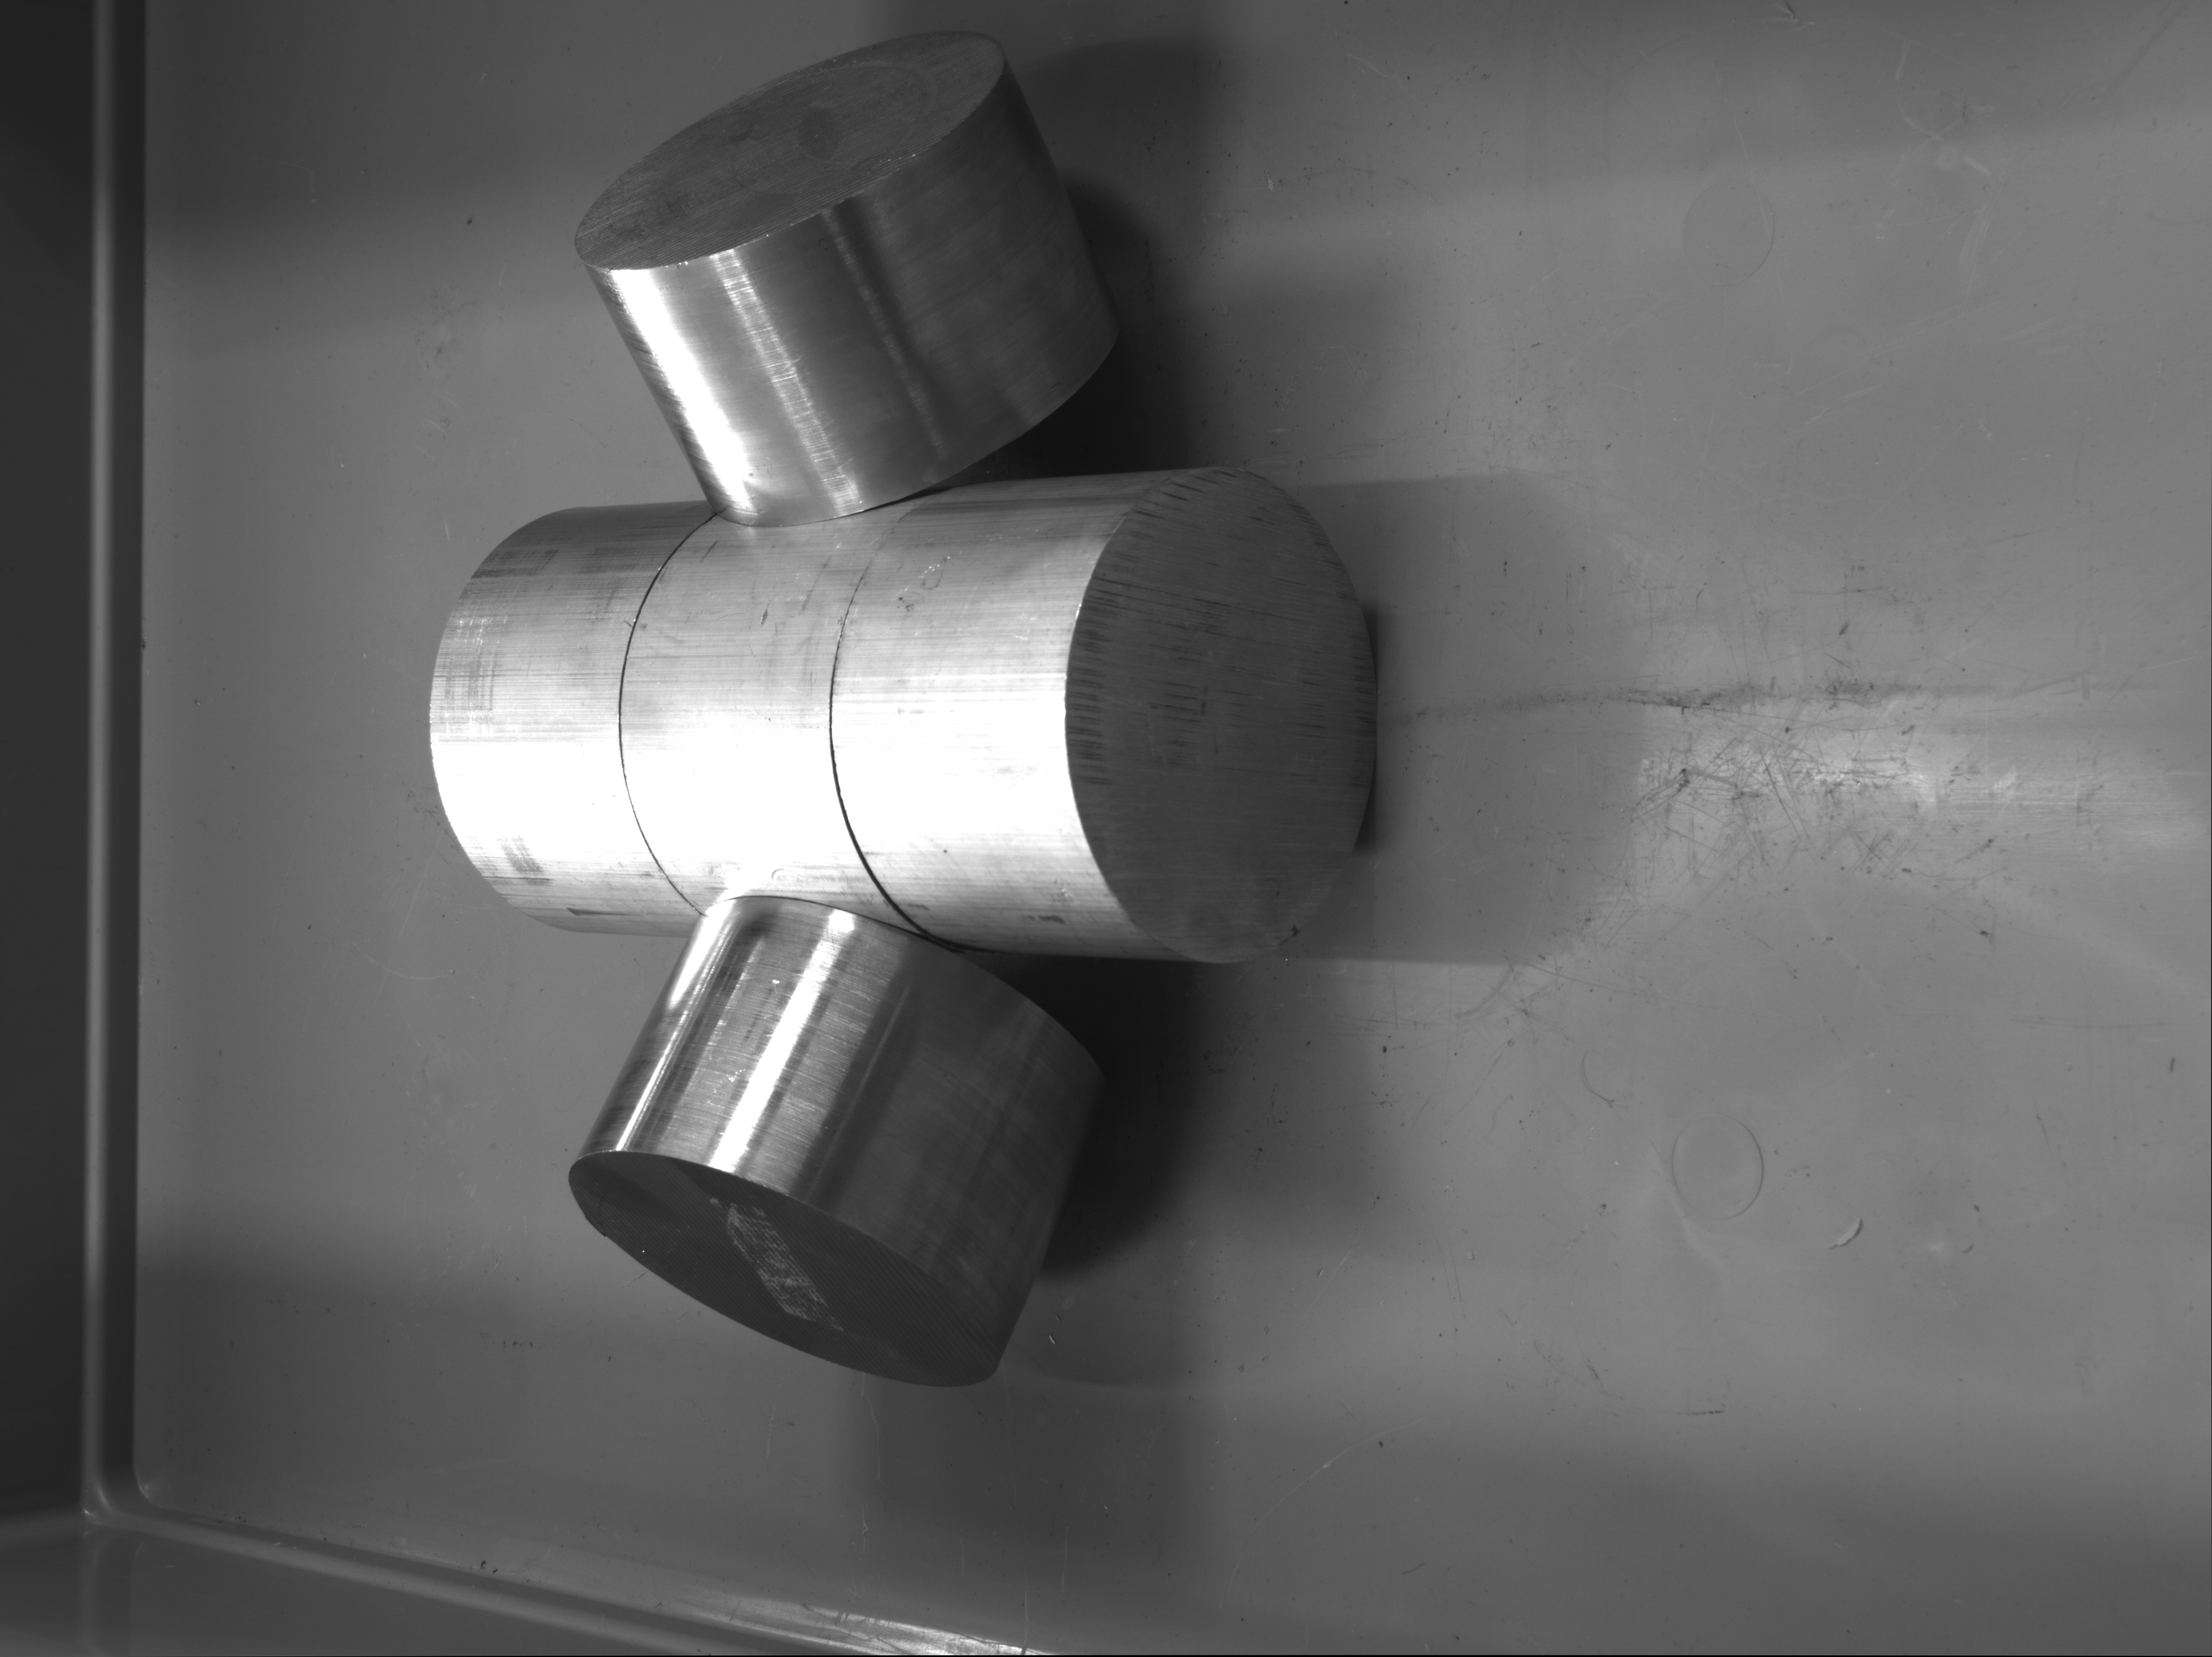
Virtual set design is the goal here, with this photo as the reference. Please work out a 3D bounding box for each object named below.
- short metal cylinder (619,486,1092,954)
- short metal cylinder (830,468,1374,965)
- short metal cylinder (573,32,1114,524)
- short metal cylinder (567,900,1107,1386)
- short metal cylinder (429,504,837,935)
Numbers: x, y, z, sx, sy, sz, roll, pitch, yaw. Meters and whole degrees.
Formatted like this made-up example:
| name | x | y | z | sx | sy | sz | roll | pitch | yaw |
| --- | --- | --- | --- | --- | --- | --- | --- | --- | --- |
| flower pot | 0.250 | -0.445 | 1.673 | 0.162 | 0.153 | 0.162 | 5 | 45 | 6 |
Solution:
| name | x | y | z | sx | sy | sz | roll | pitch | yaw |
| --- | --- | --- | --- | --- | --- | --- | --- | --- | --- |
| short metal cylinder | -0.038 | -0.019 | 0.639 | 0.050 | 0.080 | 0.080 | 2 | 91 | 41 |
| short metal cylinder | 0.000 | -0.018 | 0.607 | 0.050 | 0.080 | 0.080 | 2 | 91 | 41 |
| short metal cylinder | -0.045 | -0.096 | 0.636 | 0.080 | 0.080 | 0.050 | 2 | 129 | 40 |
| short metal cylinder | -0.046 | 0.055 | 0.637 | 0.080 | 0.080 | 0.050 | 0 | 56 | 40 |
| short metal cylinder | -0.076 | -0.020 | 0.672 | 0.050 | 0.080 | 0.080 | 2 | 91 | 41 |
